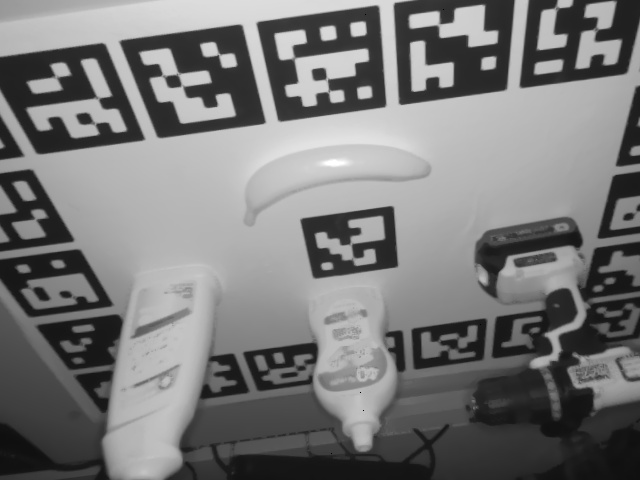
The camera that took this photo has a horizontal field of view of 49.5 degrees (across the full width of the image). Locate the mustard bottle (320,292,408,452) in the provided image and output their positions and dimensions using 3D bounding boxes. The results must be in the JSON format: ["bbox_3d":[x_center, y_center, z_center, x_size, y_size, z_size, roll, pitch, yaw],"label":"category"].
[{"bbox_3d":[0.050,0.147,0.776,0.096,0.193,0.058,-12,132,9],"label":"mustard bottle"}]

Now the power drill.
[{"bbox_3d":[0.233,0.110,0.717,0.184,0.188,0.057,-14,132,3],"label":"power drill"}]

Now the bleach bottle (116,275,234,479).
[{"bbox_3d":[-0.146,0.146,0.714,0.103,0.252,0.067,-1,132,-3],"label":"bleach bottle"}]

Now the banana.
[{"bbox_3d":[0.023,-0.052,0.682,0.197,0.039,0.074,-13,130,3],"label":"banana"}]
